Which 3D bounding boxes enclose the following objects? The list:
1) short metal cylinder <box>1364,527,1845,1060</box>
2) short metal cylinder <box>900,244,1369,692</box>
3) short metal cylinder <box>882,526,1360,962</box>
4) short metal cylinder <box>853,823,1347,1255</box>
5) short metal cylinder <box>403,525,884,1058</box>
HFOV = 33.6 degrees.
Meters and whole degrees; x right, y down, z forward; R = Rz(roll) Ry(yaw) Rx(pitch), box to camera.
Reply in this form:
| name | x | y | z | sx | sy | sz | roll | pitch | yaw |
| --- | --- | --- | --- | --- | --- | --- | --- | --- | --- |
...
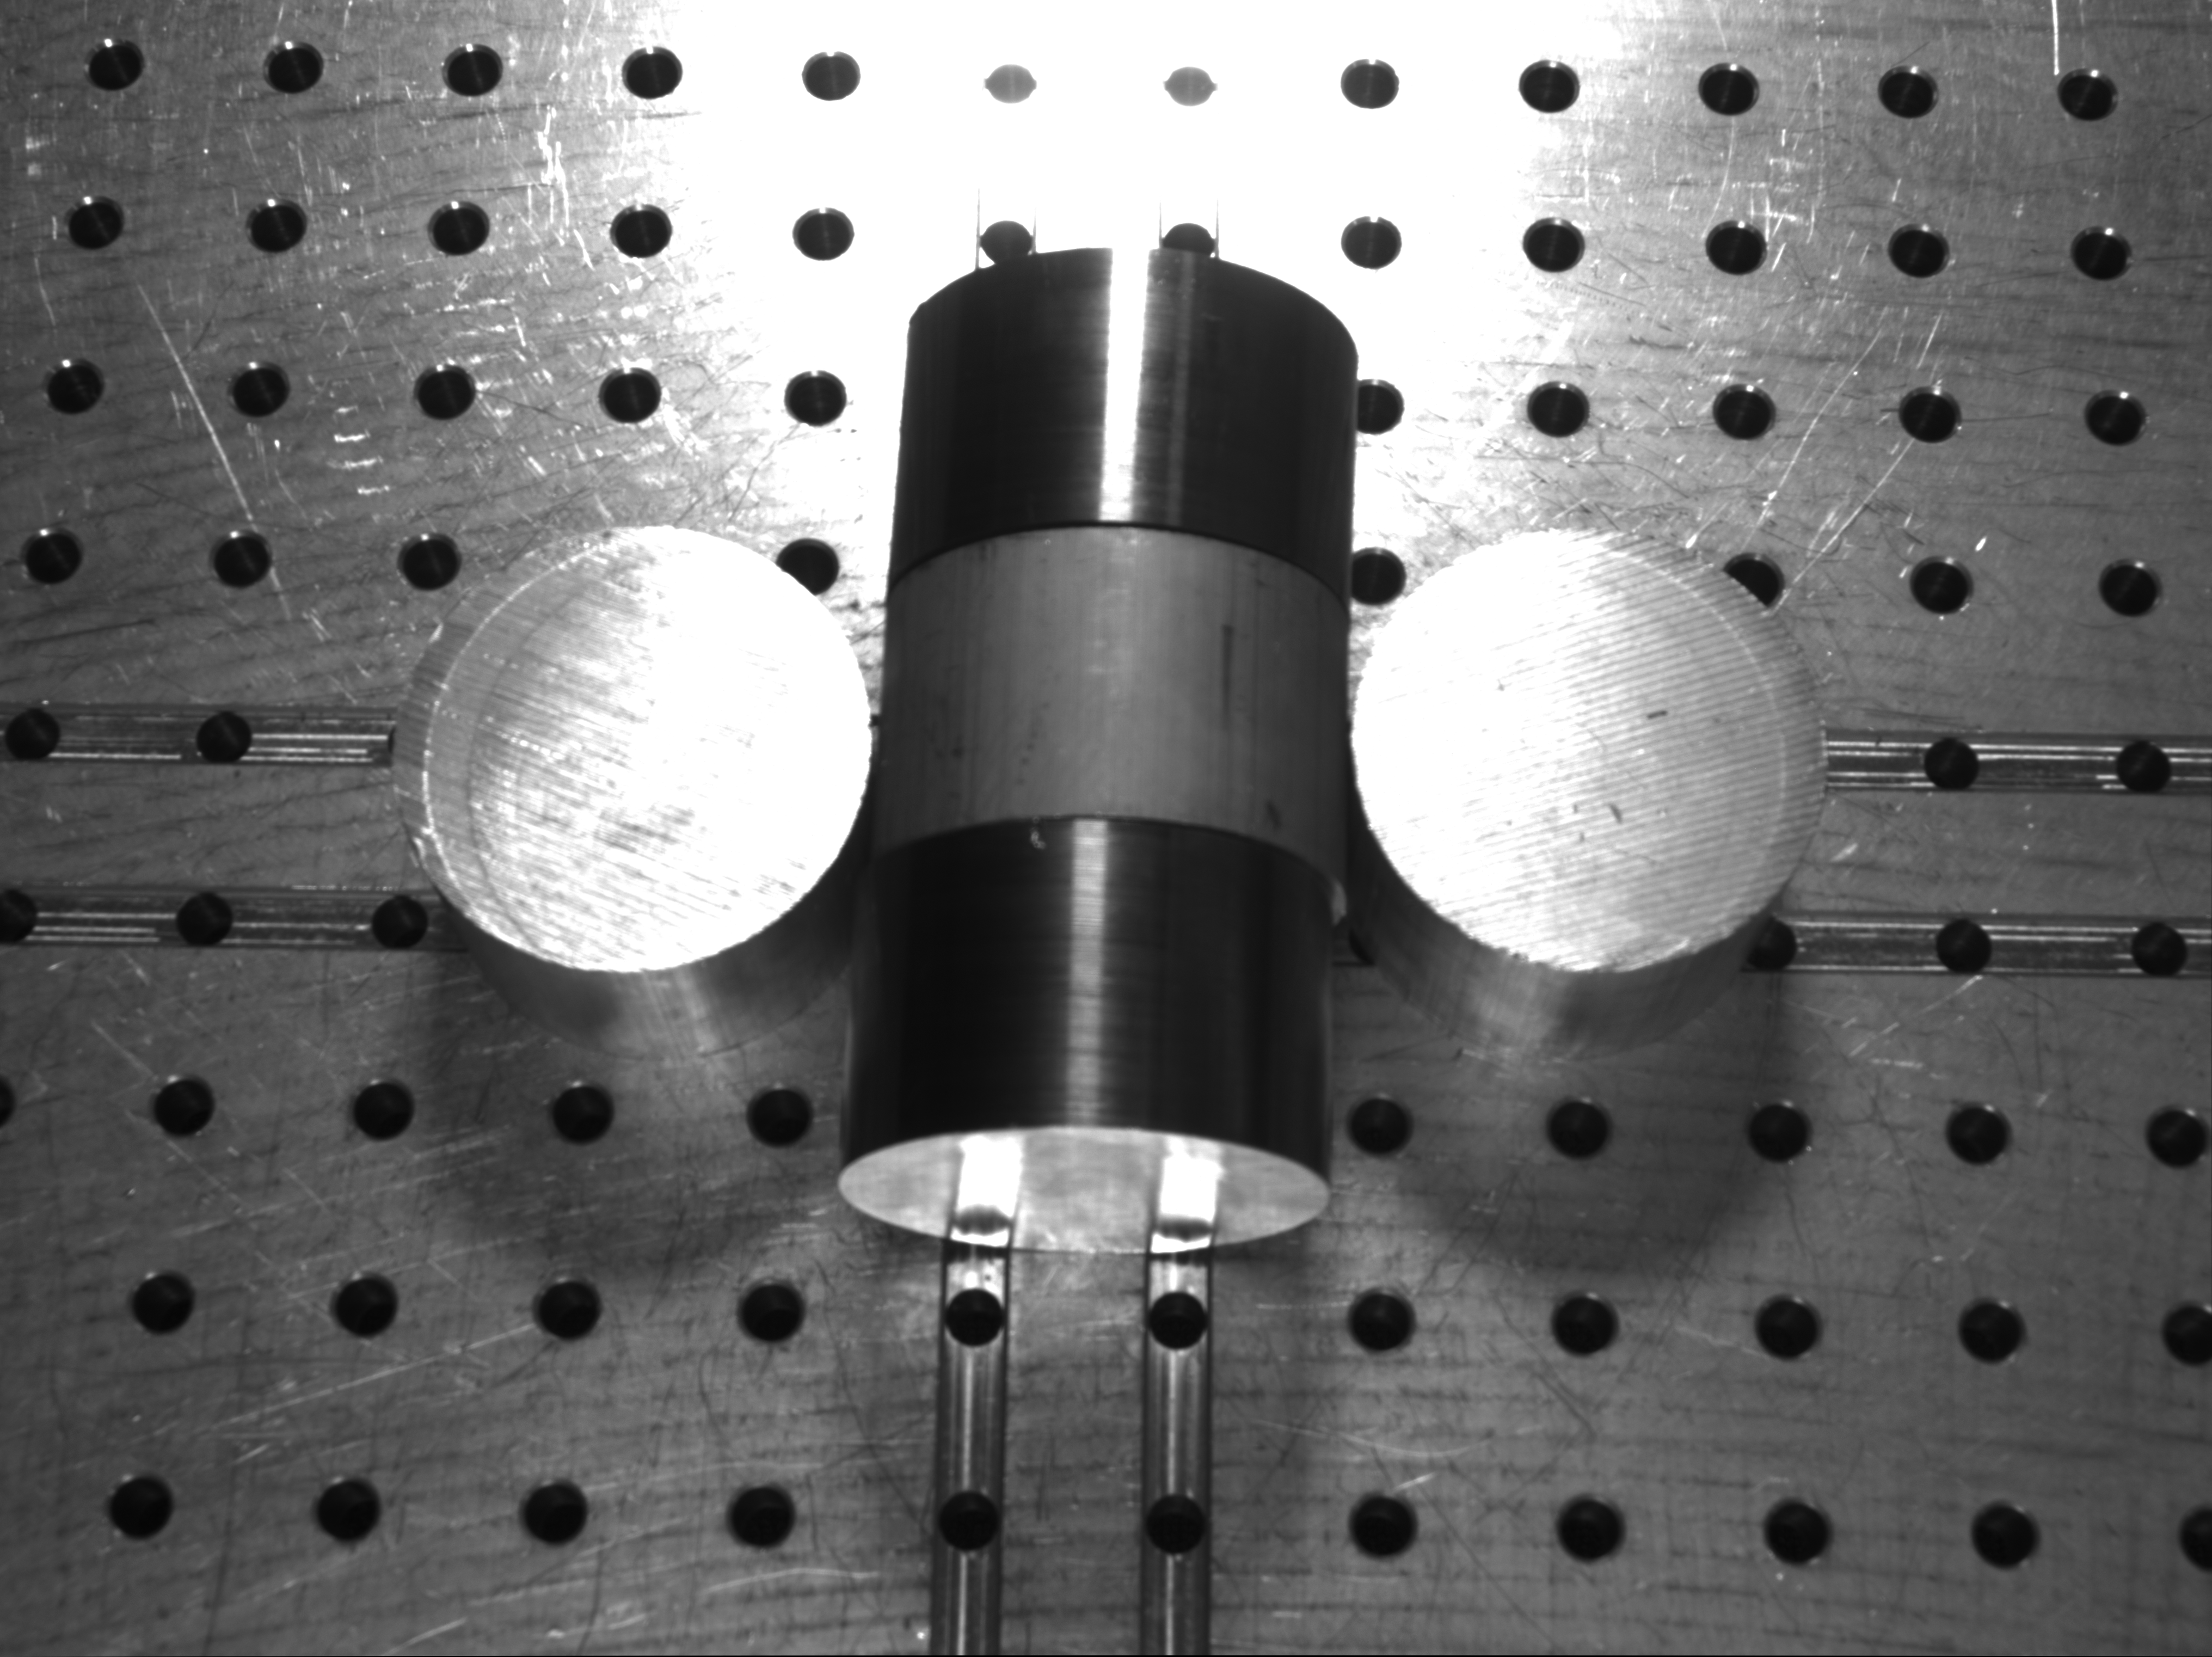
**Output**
| name | x | y | z | sx | sy | sz | roll | pitch | yaw |
| --- | --- | --- | --- | --- | --- | --- | --- | --- | --- |
| short metal cylinder | 0.083 | -0.005 | 0.635 | 0.080 | 0.050 | 0.080 | 0 | 70 | 0 |
| short metal cylinder | 0.006 | -0.060 | 0.639 | 0.080 | 0.080 | 0.050 | 2 | 70 | 1 |
| short metal cylinder | 0.003 | -0.012 | 0.622 | 0.080 | 0.080 | 0.050 | 2 | 70 | 1 |
| short metal cylinder | 0.000 | 0.036 | 0.604 | 0.080 | 0.080 | 0.050 | 1 | 70 | 1 |
| short metal cylinder | -0.077 | -0.006 | 0.635 | 0.080 | 0.050 | 0.080 | 0 | 70 | 0 |
